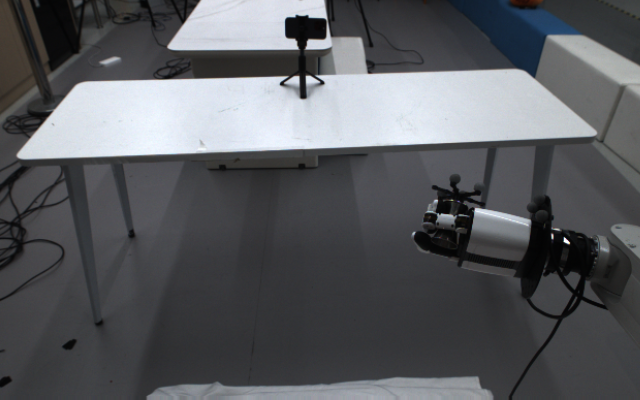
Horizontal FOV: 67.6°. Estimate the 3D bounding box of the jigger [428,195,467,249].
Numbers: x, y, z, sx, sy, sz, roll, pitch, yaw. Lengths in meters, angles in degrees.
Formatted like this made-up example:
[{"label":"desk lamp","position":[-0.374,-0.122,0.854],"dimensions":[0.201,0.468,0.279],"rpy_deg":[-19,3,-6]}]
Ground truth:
[{"label":"jigger","position":[0.206,0.034,0.765],"dimensions":[0.043,0.043,0.071],"rpy_deg":[16,70,19]}]
